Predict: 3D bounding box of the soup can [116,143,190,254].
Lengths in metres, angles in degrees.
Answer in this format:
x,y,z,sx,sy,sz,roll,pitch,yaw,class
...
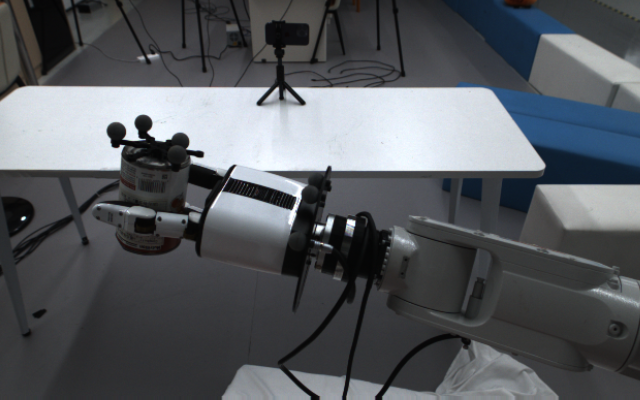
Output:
x,y,z,sx,sy,sz,roll,pitch,yaw,class
-0.172,-0.002,0.505,0.067,0.101,0.067,12,24,-6,soup can
